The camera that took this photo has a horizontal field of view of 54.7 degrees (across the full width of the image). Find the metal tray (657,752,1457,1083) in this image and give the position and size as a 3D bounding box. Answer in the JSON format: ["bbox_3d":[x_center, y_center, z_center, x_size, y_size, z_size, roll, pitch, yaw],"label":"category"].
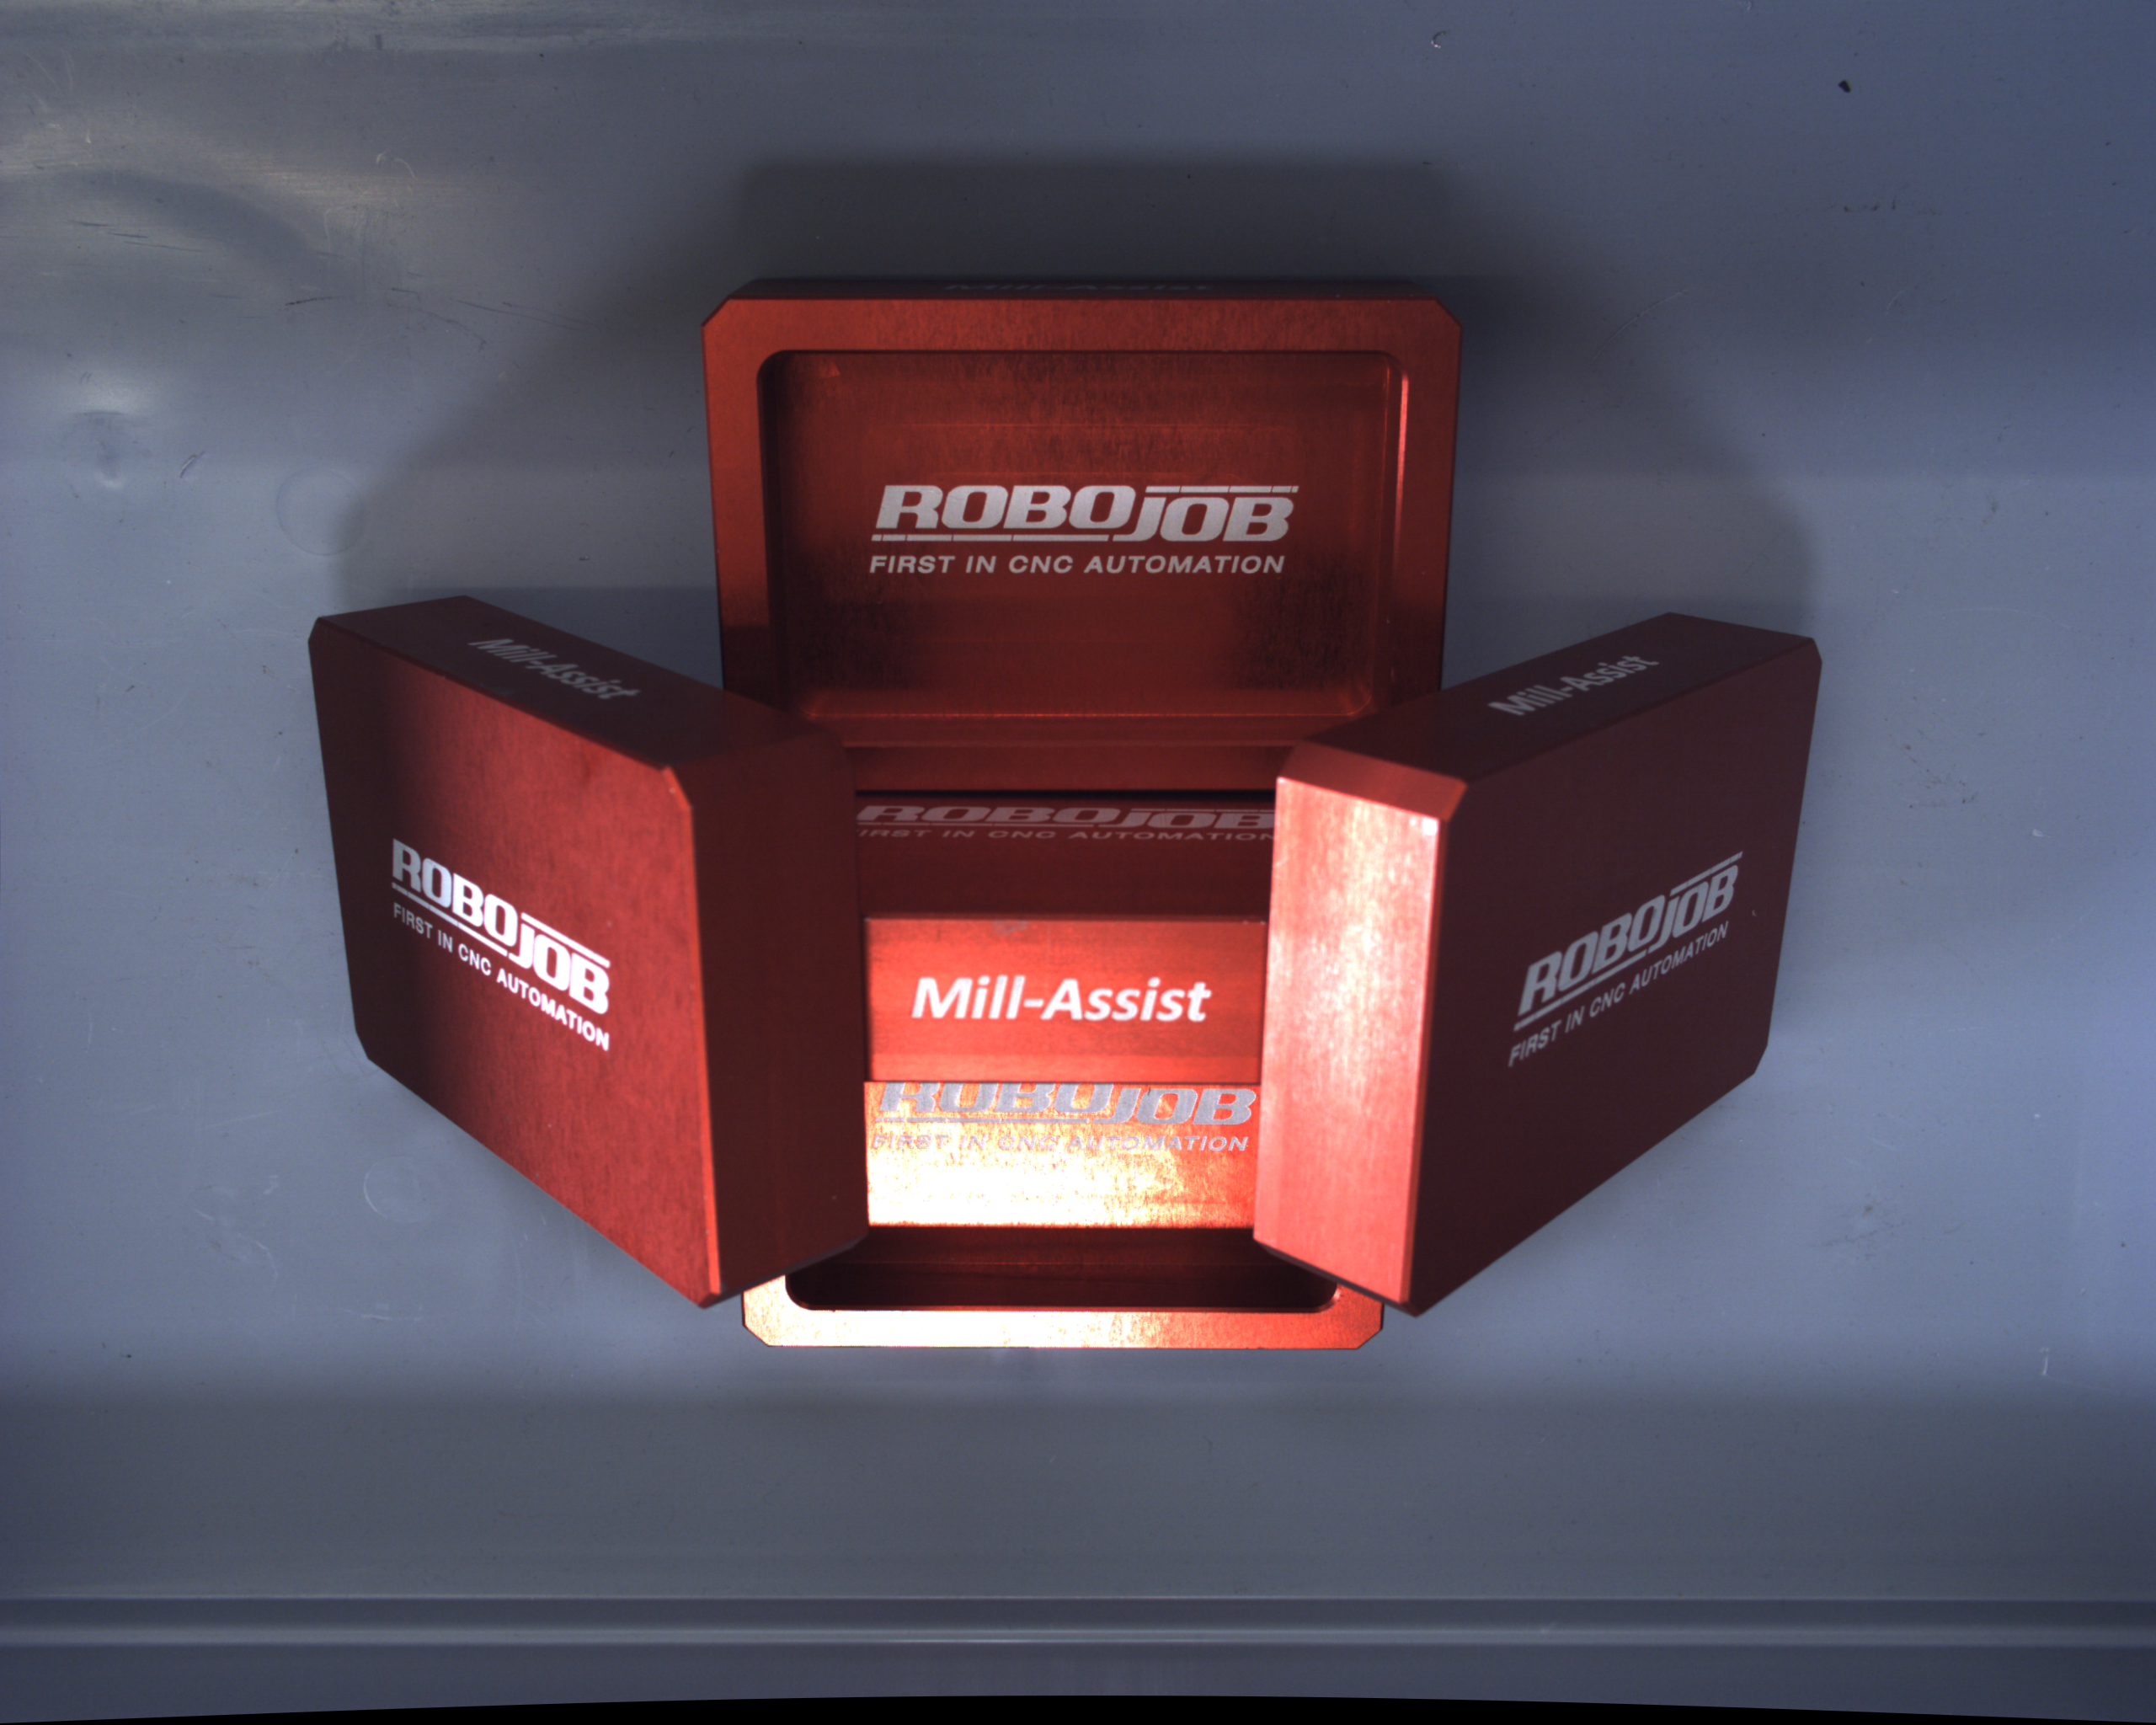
[{"bbox_3d":[-0.004,0.007,0.377,0.131,0.090,0.030,0,110,-1],"label":"metal tray"}]

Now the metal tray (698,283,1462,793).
[{"bbox_3d":[0.001,-0.060,0.384,0.131,0.030,0.089,0,111,-1],"label":"metal tray"}]

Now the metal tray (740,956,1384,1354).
[{"bbox_3d":[-0.003,0.054,0.425,0.131,0.030,0.089,0,110,-1],"label":"metal tray"}]

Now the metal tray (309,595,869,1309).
[{"bbox_3d":[-0.088,0.010,0.363,0.030,0.130,0.089,-17,116,-39],"label":"metal tray"}]

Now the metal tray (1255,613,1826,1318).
[{"bbox_3d":[0.084,0.012,0.365,0.030,0.131,0.089,18,116,39],"label":"metal tray"}]
